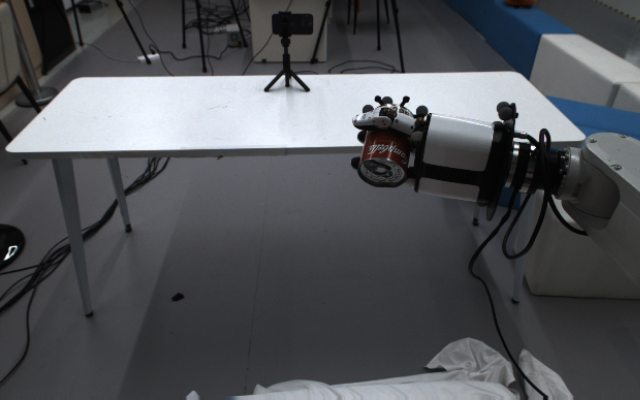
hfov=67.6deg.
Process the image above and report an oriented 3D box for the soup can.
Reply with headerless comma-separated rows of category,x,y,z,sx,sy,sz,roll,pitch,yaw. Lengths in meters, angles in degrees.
soup can,0.096,-0.078,0.680,0.067,0.067,0.101,9,59,10
